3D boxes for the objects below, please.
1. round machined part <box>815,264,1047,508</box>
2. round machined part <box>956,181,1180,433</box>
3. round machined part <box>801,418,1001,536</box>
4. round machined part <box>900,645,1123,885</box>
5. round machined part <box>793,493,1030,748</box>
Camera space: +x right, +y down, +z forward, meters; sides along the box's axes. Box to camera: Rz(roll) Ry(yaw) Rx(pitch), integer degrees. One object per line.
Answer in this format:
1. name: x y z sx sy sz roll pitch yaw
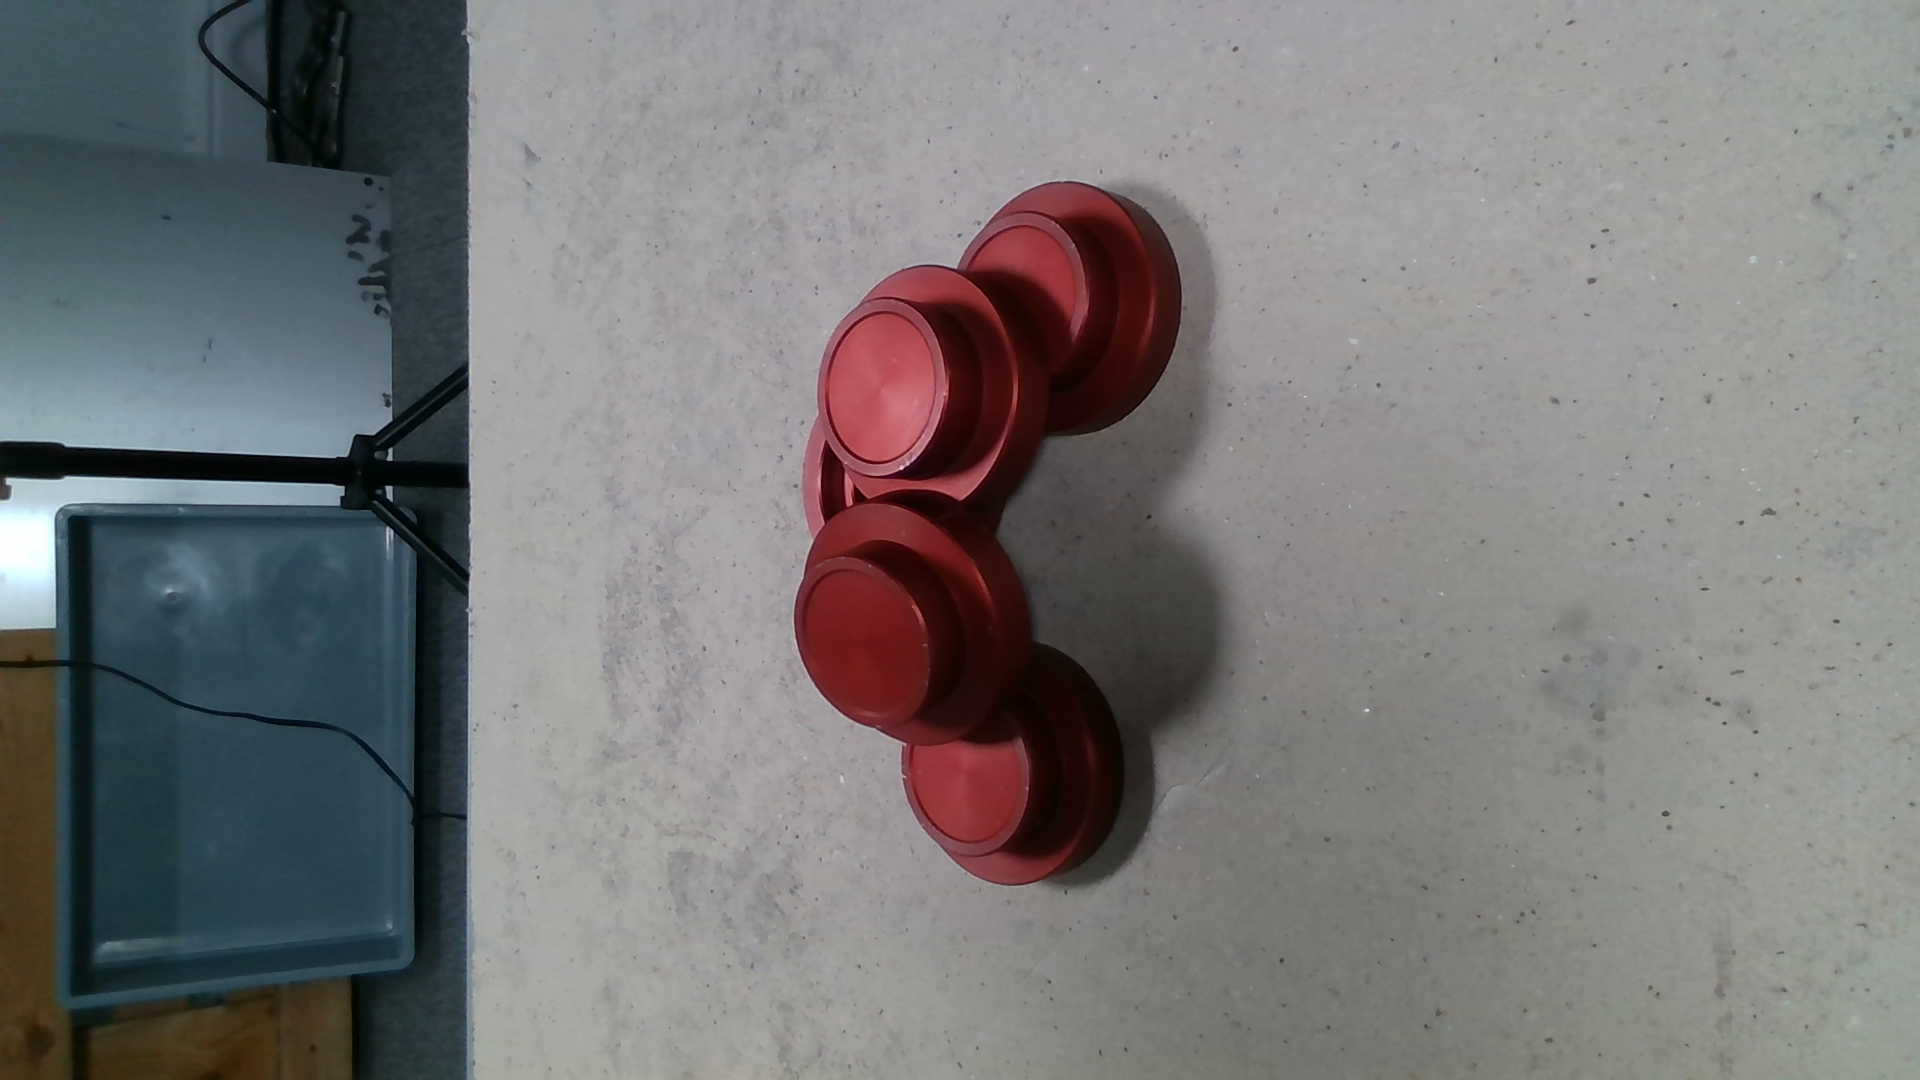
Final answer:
1. round machined part: -0.018 -0.057 0.530 0.098 0.042 0.098 0 91 40
2. round machined part: 0.034 -0.092 0.541 0.098 0.042 0.098 0 91 40
3. round machined part: -0.019 -0.025 0.587 0.098 0.042 0.098 0 91 40
4. round machined part: 0.014 0.091 0.559 0.098 0.042 0.098 0 91 40
5. round machined part: -0.025 0.033 0.524 0.098 0.042 0.098 13 111 36
